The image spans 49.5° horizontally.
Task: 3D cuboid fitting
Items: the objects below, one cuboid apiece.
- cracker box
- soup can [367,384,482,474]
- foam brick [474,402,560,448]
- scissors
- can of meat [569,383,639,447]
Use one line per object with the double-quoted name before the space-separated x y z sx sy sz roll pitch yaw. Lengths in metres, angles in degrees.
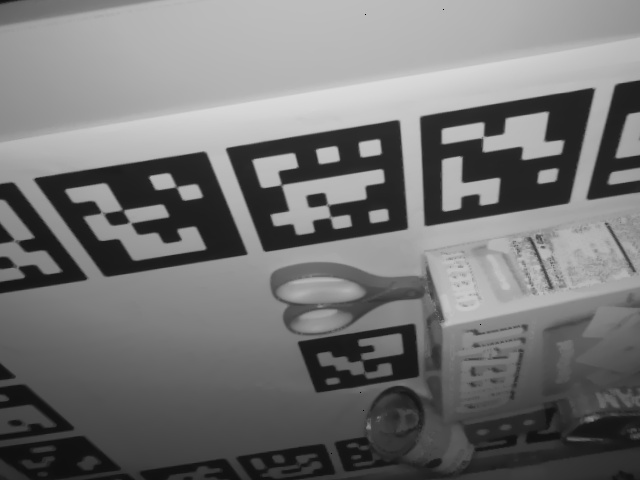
"cracker box" 0.203 0.052 0.522 0.213 0.072 0.163 -15 136 2
"soup can" 0.105 0.188 0.684 0.067 0.068 0.103 -37 133 28
"foam brick" 0.182 0.157 0.664 0.078 0.052 0.052 -16 134 9
"scissors" 0.081 0.022 0.522 0.202 0.016 0.087 -12 135 5
"can of meat" 0.273 0.135 0.626 0.102 0.084 0.057 2 135 -8
